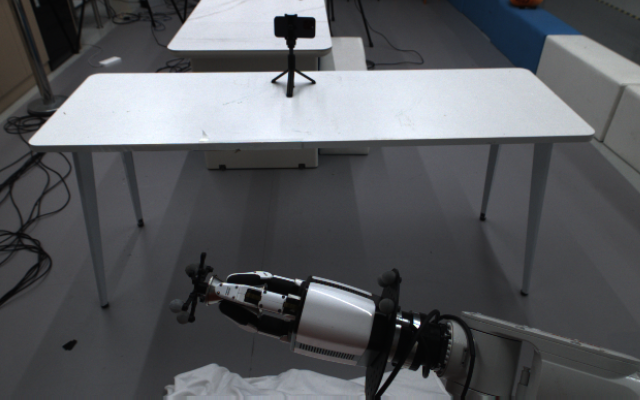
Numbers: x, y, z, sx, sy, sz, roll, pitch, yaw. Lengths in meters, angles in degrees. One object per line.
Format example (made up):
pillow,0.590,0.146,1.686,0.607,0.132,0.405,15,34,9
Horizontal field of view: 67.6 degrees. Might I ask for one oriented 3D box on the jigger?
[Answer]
jigger,-0.096,0.115,0.603,0.071,0.043,0.043,11,35,3
